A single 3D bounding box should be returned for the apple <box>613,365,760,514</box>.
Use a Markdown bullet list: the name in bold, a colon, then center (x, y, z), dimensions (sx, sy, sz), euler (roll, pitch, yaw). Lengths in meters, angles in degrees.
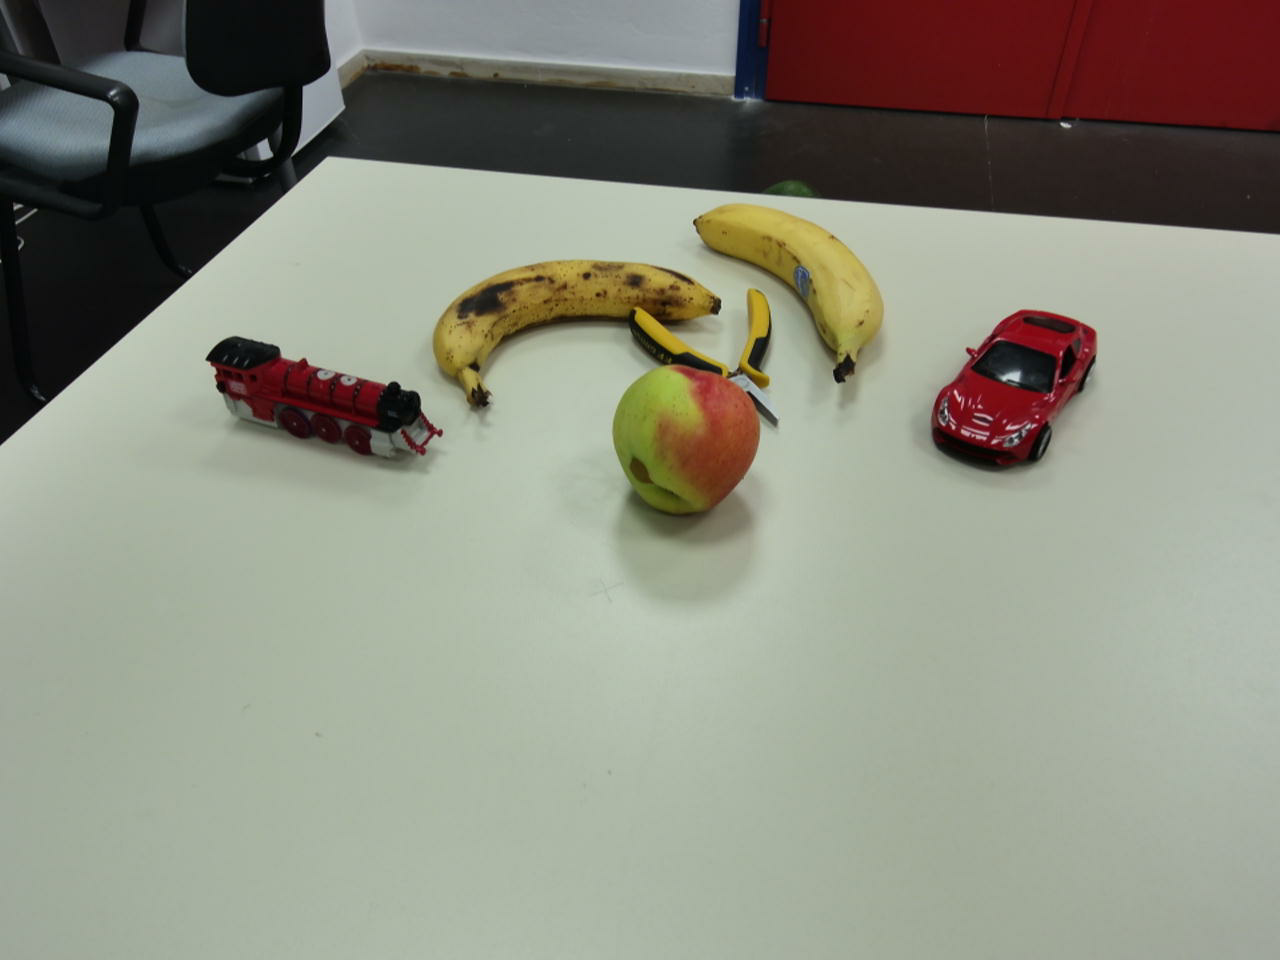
- **apple**: center (0.024, -0.021, 0.508), dimensions (0.075, 0.074, 0.075), euler (-4, 39, -5)
